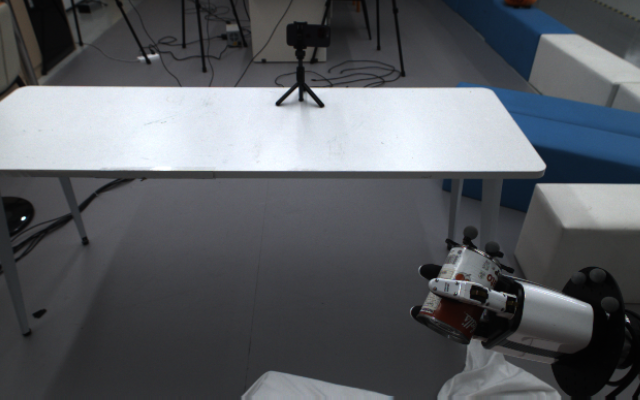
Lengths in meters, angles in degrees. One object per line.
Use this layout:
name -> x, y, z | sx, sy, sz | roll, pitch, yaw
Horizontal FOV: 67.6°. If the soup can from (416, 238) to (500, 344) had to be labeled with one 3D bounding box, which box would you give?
soup can -> 0.174, 0.114, 0.595 | 0.067, 0.067, 0.101 | 23, 72, 27
